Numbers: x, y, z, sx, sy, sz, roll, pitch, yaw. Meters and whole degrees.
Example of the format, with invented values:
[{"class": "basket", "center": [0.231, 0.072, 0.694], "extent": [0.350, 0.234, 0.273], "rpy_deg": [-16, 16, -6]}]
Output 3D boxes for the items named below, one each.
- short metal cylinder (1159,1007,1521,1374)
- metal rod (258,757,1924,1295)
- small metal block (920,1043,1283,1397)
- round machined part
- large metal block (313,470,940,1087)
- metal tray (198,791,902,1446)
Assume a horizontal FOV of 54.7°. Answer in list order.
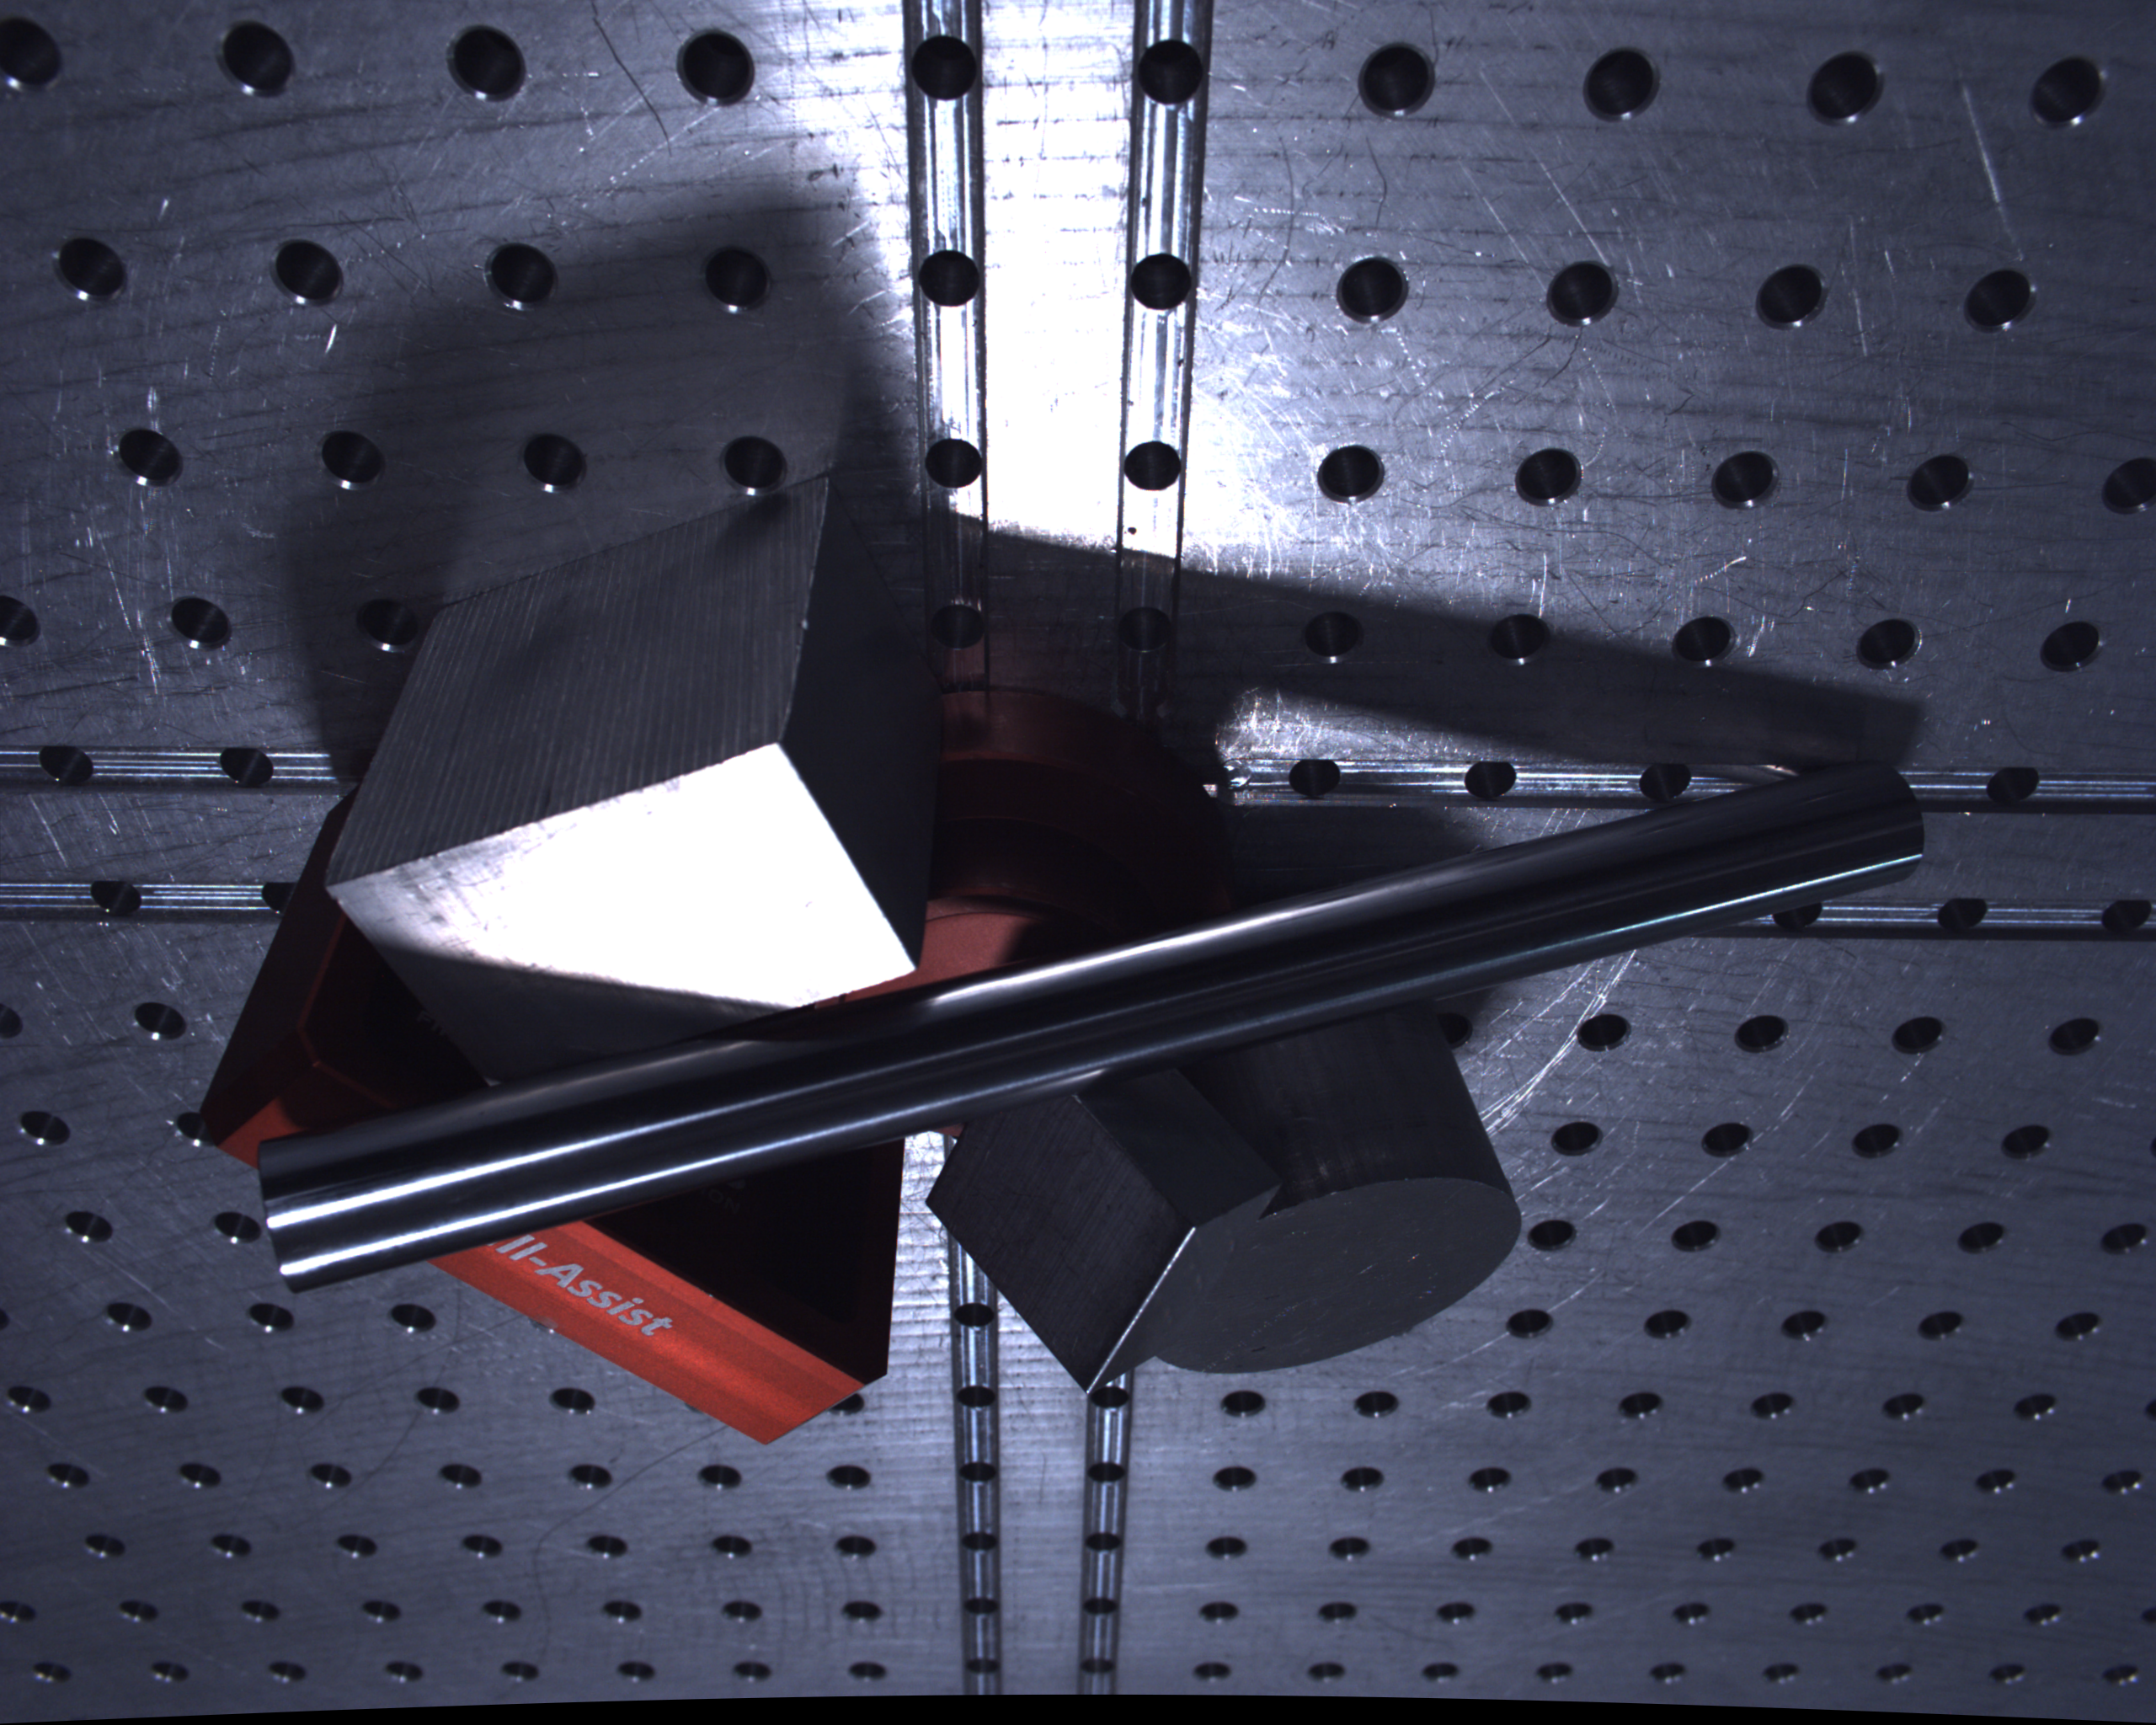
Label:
[{"class": "short metal cylinder", "center": [0.045, 0.066, 0.436], "extent": [0.081, 0.050, 0.080], "rpy_deg": [-12, 144, -9]}, {"class": "metal rod", "center": [0.016, 0.024, 0.370], "extent": [0.302, 0.025, 0.025], "rpy_deg": [-13, 132, -15]}, {"class": "small metal block", "center": [0.003, 0.062, 0.391], "extent": [0.025, 0.050, 0.050], "rpy_deg": [-18, 144, -45]}, {"class": "round machined part", "center": [-0.017, 0.015, 0.417], "extent": [0.099, 0.042, 0.097], "rpy_deg": [-1, 130, 0]}, {"class": "large metal block", "center": [-0.072, -0.015, 0.360], "extent": [0.080, 0.080, 0.050], "rpy_deg": [-16, 128, 13]}, {"class": "metal tray", "center": [-0.092, 0.044, 0.404], "extent": [0.030, 0.090, 0.130], "rpy_deg": [-36, 122, 26]}]
